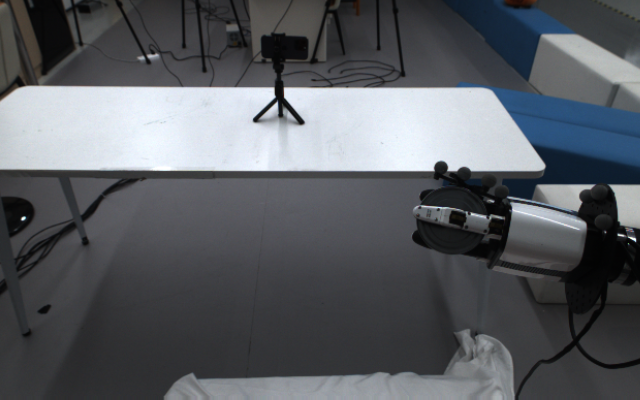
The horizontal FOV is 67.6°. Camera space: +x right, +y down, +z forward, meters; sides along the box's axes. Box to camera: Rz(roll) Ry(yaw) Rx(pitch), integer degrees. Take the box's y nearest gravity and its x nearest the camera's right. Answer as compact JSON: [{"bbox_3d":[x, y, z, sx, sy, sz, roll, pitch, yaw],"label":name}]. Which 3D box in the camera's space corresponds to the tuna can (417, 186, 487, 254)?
[{"bbox_3d":[0.167,0.025,0.611,0.085,0.085,0.034,14,-7,16],"label":"tuna can"}]
